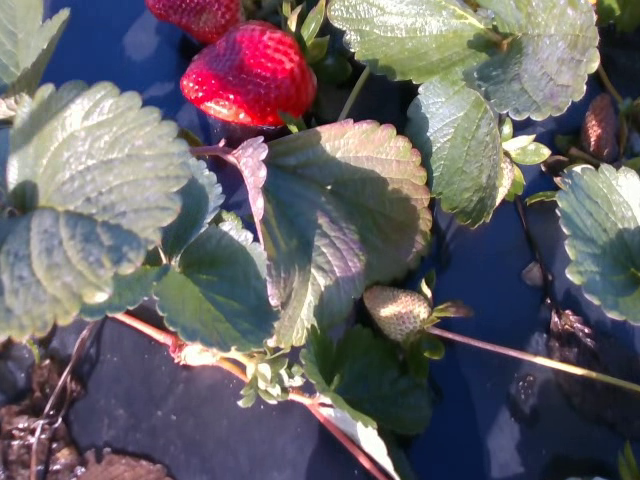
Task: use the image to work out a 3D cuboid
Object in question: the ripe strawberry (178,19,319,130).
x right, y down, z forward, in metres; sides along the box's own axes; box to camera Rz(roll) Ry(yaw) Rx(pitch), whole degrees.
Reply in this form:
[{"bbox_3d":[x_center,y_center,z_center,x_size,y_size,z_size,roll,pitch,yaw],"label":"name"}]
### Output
[{"bbox_3d":[-0.031,-0.064,0.244,0.057,0.046,0.052,-26,38,-29],"label":"ripe strawberry"}]
